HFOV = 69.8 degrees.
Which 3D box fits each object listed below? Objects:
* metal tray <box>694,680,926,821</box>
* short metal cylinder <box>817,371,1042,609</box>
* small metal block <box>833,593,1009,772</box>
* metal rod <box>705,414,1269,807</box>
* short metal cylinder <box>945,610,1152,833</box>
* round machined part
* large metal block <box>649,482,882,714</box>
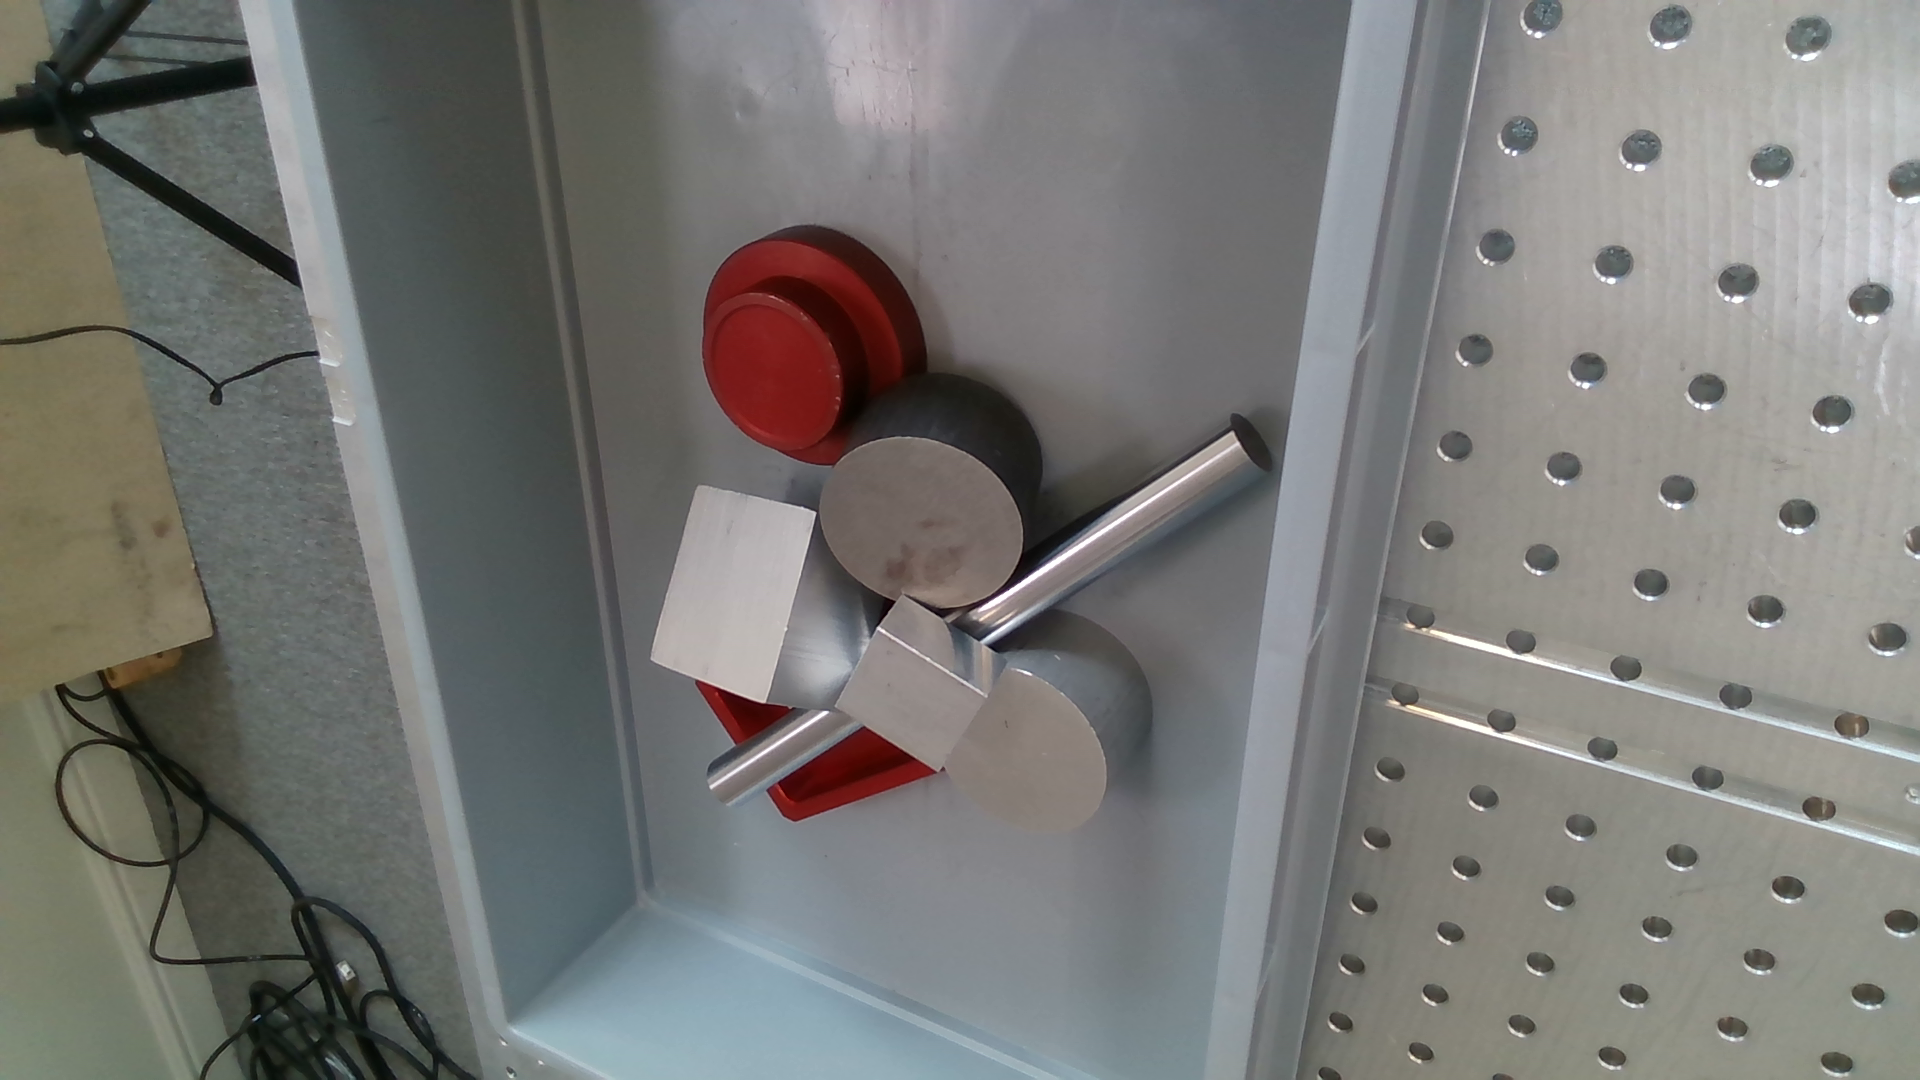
[{"bbox_3d":[-0.057,0.076,0.652,0.130,0.030,0.090,-26,100,38],"label":"metal tray"},{"bbox_3d":[-0.011,-0.019,0.544,0.080,0.050,0.080,7,127,9],"label":"short metal cylinder"},{"bbox_3d":[-0.016,0.057,0.552,0.050,0.025,0.050,32,128,3],"label":"small metal block"},{"bbox_3d":[-0.003,0.040,0.570,0.300,0.025,0.025,-35,94,30],"label":"metal rod"},{"bbox_3d":[0.035,0.076,0.584,0.080,0.050,0.080,14,122,25],"label":"short metal cylinder"},{"bbox_3d":[-0.067,-0.076,0.567,0.098,0.042,0.098,14,122,25],"label":"round machined part"},{"bbox_3d":[-0.081,0.024,0.592,0.080,0.050,0.080,13,88,42],"label":"large metal block"}]
